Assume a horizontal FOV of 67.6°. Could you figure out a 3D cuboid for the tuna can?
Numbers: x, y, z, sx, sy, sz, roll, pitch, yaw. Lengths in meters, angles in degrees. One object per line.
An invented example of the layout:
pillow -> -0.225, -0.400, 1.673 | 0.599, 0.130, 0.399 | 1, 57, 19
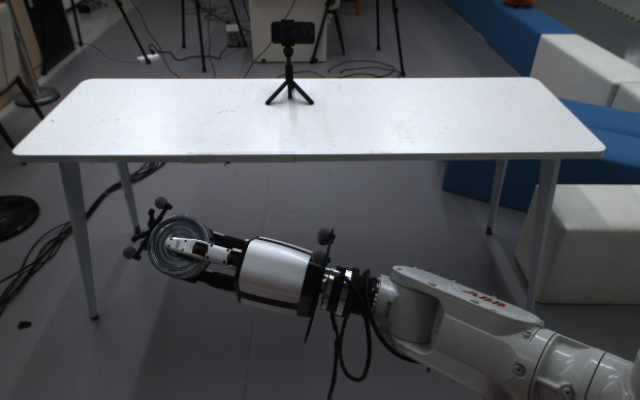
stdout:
tuna can -> -0.188, 0.064, 0.664 | 0.085, 0.034, 0.085 | 0, 75, -1
